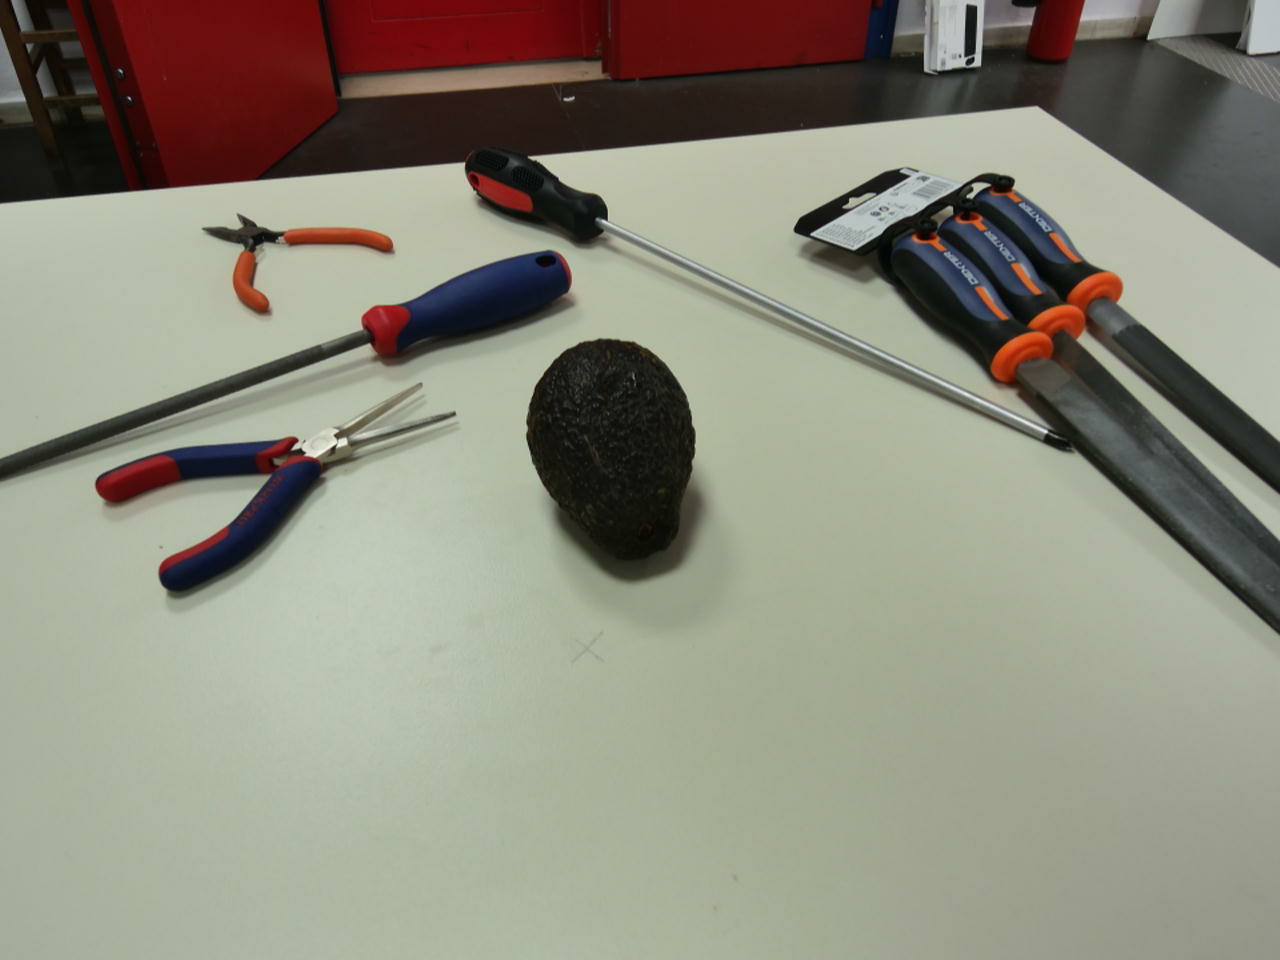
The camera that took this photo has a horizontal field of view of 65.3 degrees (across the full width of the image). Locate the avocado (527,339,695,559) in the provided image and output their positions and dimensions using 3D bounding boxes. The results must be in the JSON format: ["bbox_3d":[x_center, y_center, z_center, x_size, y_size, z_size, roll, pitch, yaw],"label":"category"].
[{"bbox_3d":[-0.013,-0.017,0.408,0.070,0.069,0.090,7,39,9],"label":"avocado"}]
